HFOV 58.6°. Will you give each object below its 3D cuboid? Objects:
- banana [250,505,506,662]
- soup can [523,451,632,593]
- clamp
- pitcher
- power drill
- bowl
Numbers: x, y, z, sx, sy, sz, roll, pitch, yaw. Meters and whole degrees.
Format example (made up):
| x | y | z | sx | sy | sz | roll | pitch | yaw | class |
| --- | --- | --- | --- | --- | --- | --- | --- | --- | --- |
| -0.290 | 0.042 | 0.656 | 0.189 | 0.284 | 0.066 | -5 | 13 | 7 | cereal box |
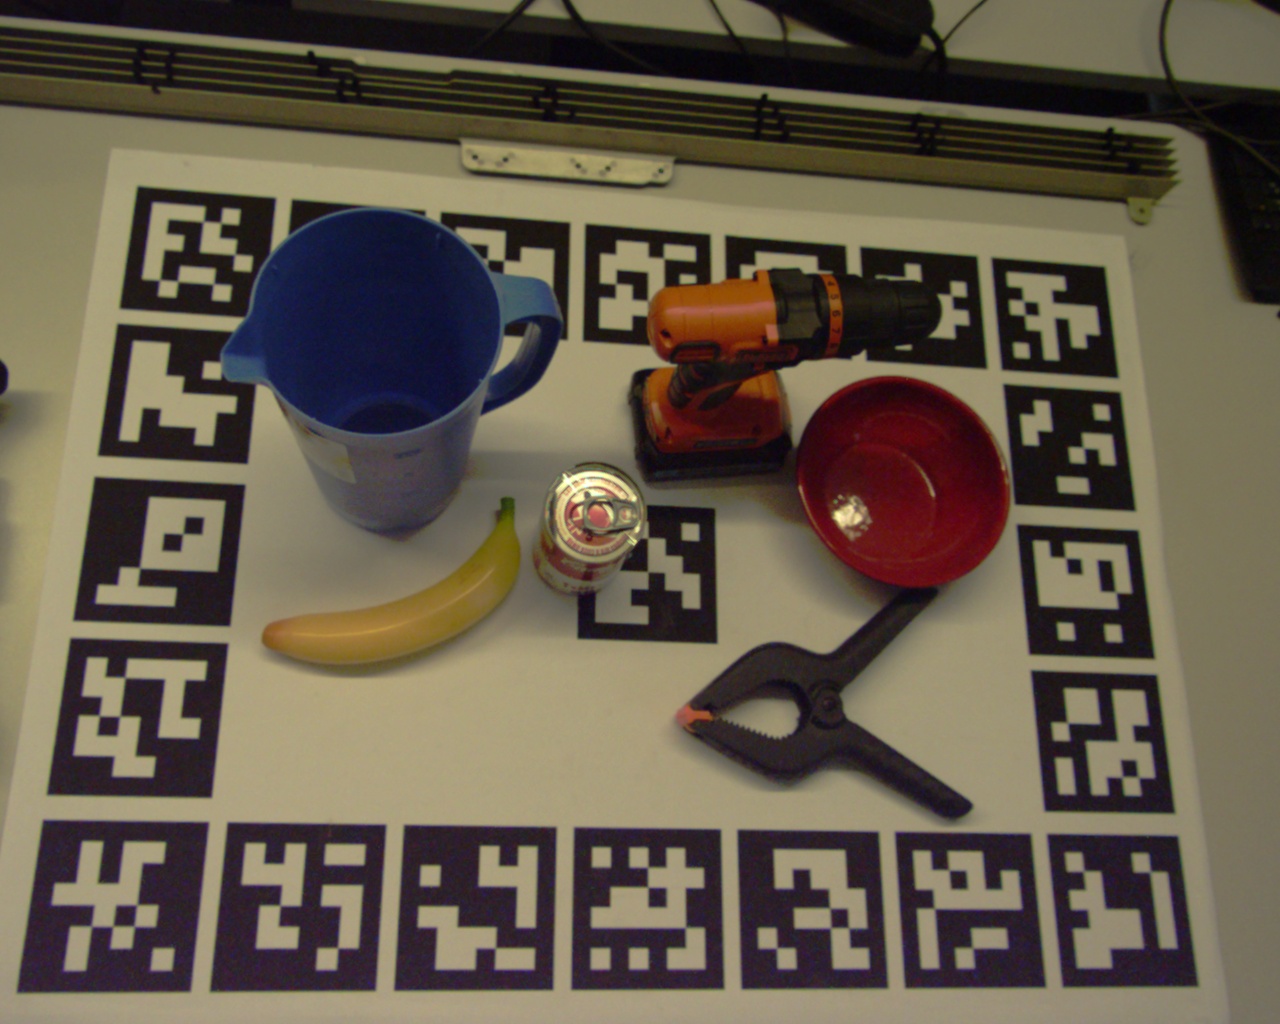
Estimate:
| x | y | z | sx | sy | sz | roll | pitch | yaw | class |
| --- | --- | --- | --- | --- | --- | --- | --- | --- | --- |
| -0.173 | 0.063 | 0.804 | 0.196 | 0.039 | 0.075 | -24 | 71 | -16 | banana |
| -0.046 | 0.009 | 0.803 | 0.067 | 0.102 | 0.068 | 3 | 66 | -8 | soup can |
| 0.116 | 0.135 | 0.817 | 0.202 | 0.037 | 0.165 | -1 | 78 | -9 | clamp |
| -0.155 | -0.073 | 0.736 | 0.188 | 0.243 | 0.134 | -22 | 76 | -14 | pitcher |
| 0.079 | -0.097 | 0.786 | 0.183 | 0.187 | 0.057 | -3 | 76 | -10 | power drill |
| 0.173 | -0.016 | 0.865 | 0.161 | 0.055 | 0.162 | 2 | 76 | -8 | bowl |
